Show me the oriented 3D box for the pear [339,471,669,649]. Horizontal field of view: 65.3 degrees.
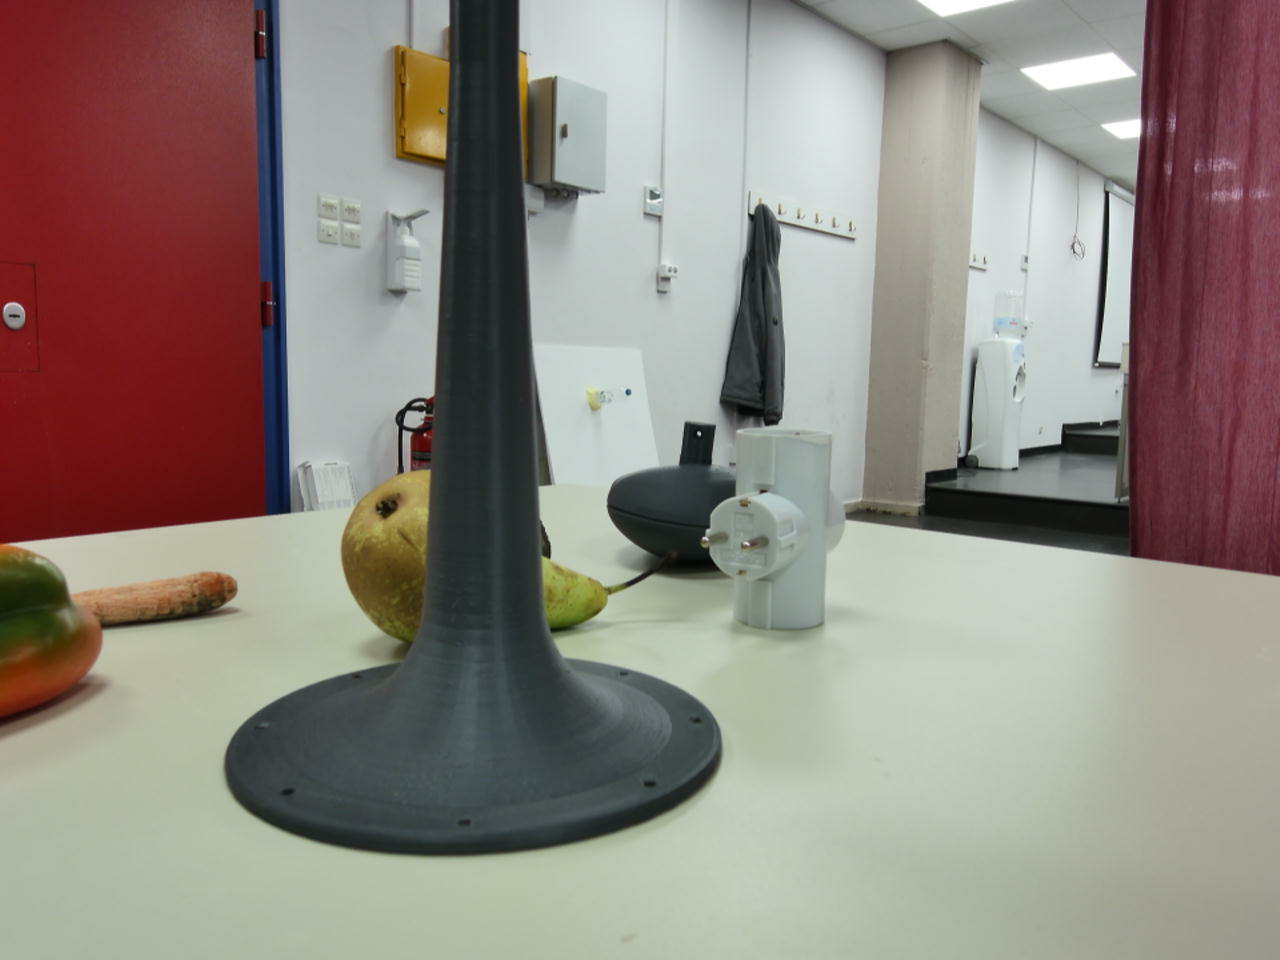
[{"bbox_3d":[-0.061,0.032,0.444,0.144,0.075,0.072,-4,6,-42],"label":"pear"}]
